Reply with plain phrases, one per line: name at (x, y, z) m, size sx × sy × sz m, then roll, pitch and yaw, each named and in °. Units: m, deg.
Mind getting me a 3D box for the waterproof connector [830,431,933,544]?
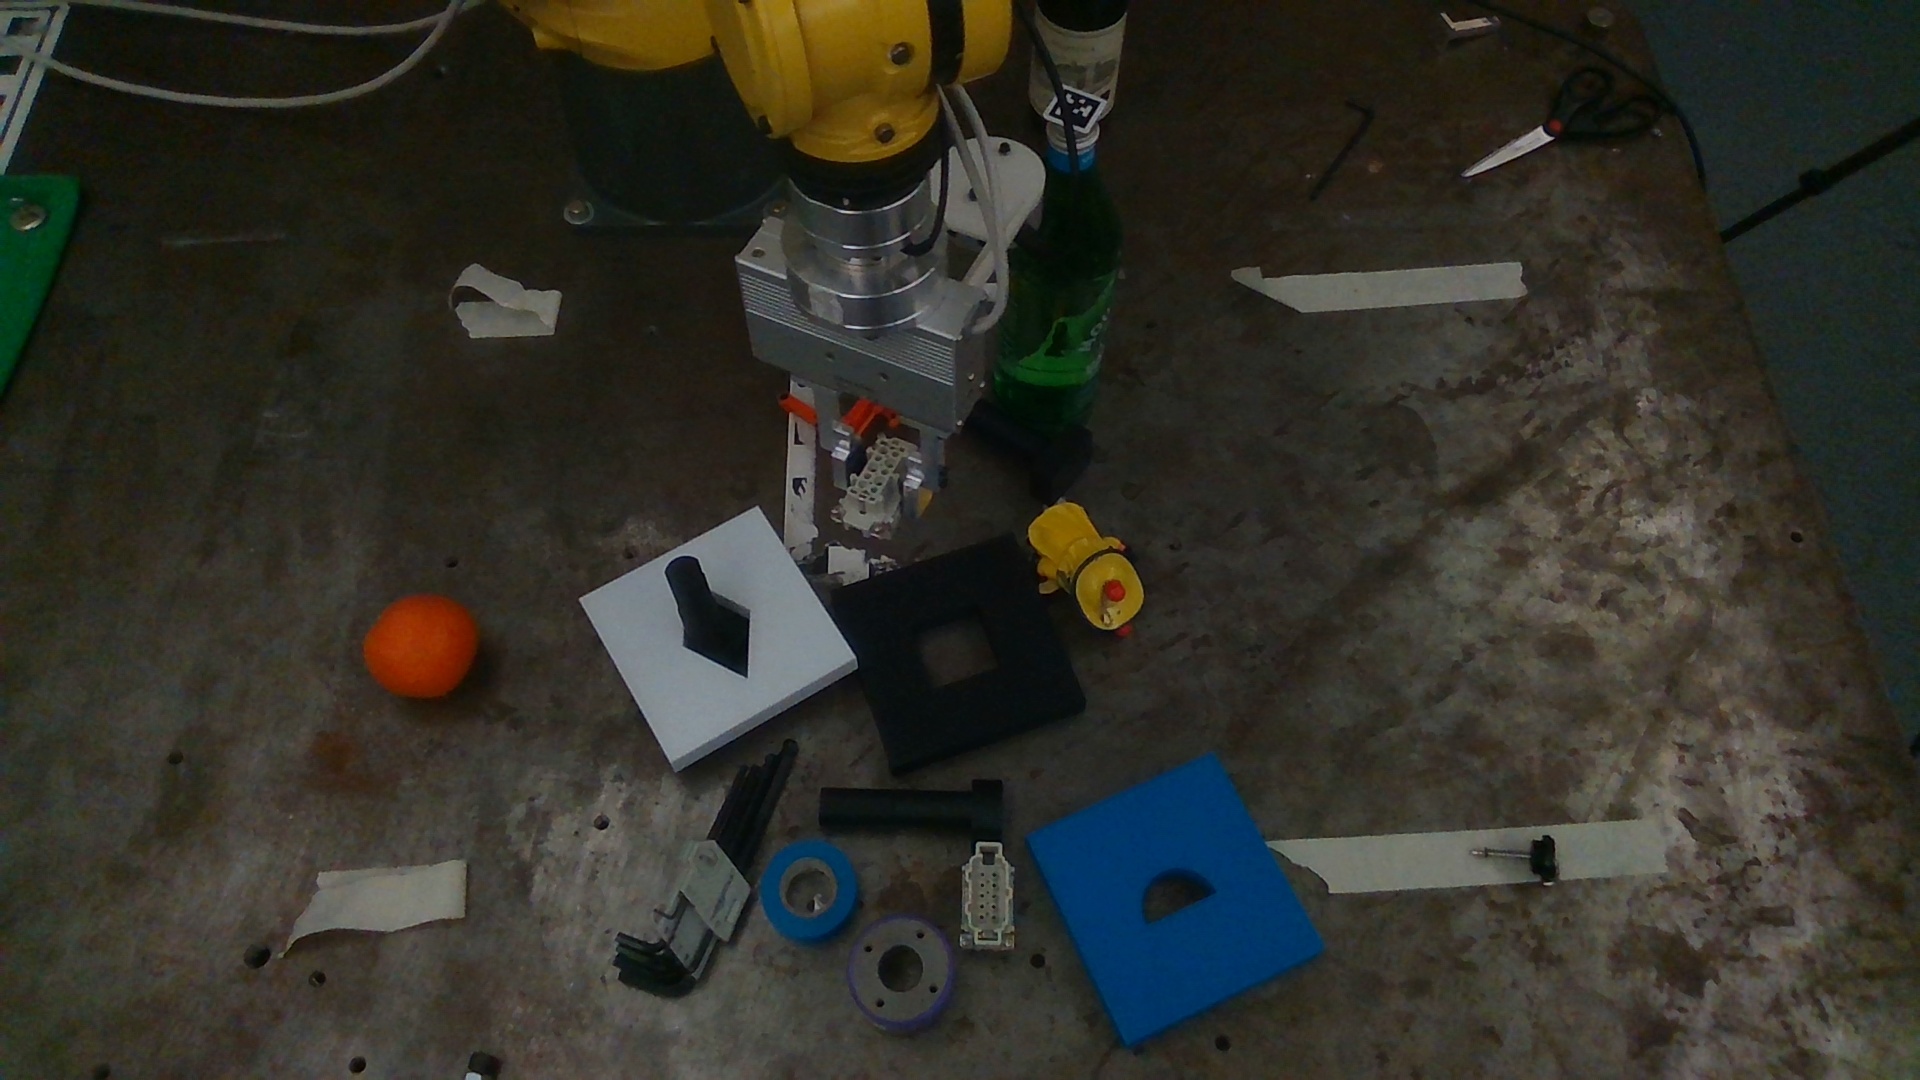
waterproof connector at (-0.043, -0.030, 0.789) m, size 0.037 × 0.038 × 0.069 m, roll 17°, pitch 57°, yaw 21°
